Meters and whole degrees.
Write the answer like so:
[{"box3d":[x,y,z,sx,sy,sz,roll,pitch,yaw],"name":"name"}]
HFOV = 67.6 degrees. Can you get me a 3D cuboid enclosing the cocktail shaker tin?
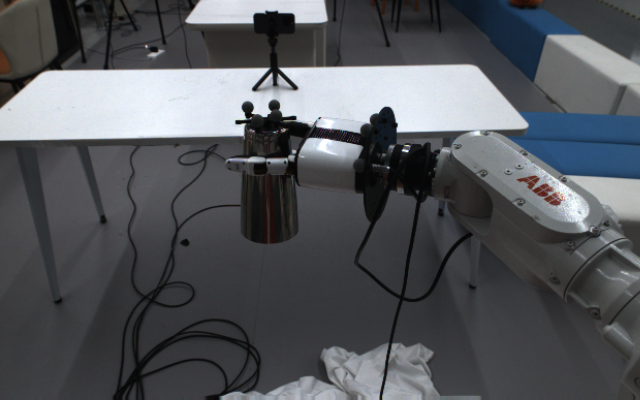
[{"box3d":[-0.076,-0.033,0.732,0.093,0.170,0.093,1,27,-1],"name":"cocktail shaker tin"}]
